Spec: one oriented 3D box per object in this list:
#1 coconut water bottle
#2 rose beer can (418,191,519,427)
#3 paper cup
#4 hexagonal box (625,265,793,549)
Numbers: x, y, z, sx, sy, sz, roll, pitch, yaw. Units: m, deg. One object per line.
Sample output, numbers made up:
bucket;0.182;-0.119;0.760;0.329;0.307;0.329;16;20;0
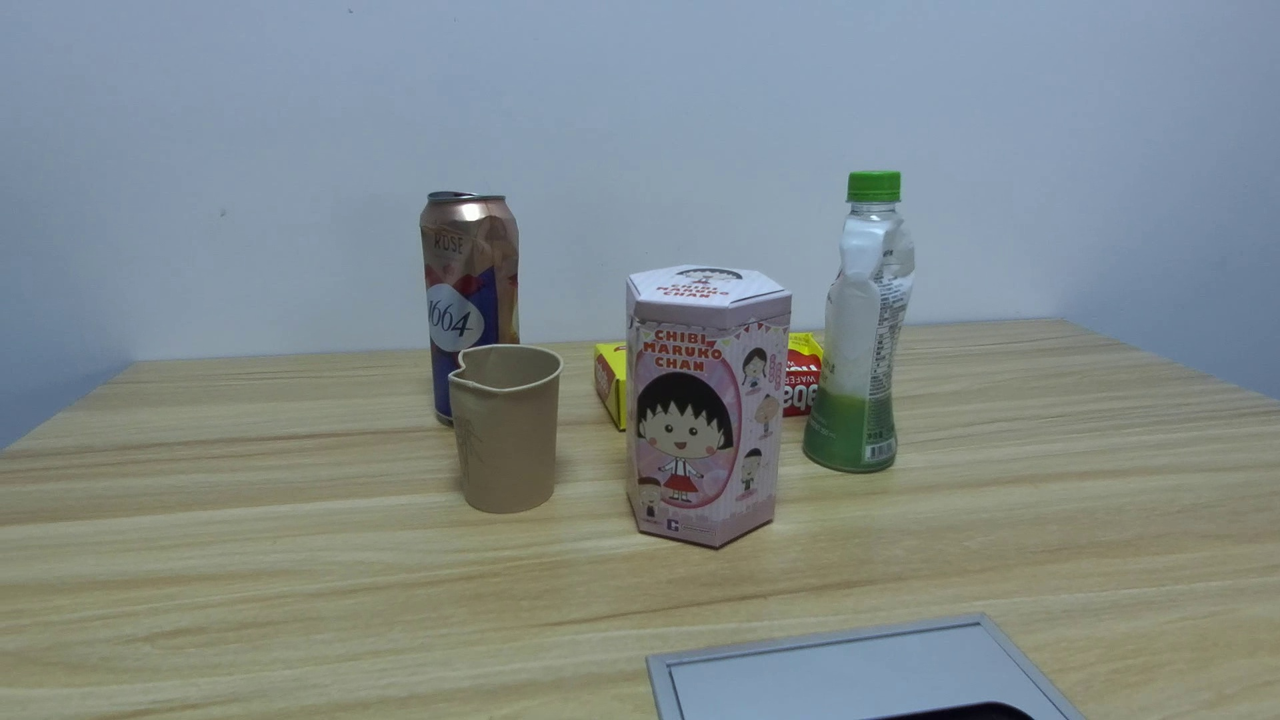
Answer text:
coconut water bottle;0.143;-0.024;0.455;0.067;0.187;0.067;0;17;0
rose beer can;-0.121;-0.038;0.523;0.065;0.167;0.075;-10;19;-34
paper cup;-0.079;0.041;0.424;0.073;0.081;0.069;11;21;25
hexagonal box;0.034;0.024;0.393;0.091;0.136;0.084;8;20;19
